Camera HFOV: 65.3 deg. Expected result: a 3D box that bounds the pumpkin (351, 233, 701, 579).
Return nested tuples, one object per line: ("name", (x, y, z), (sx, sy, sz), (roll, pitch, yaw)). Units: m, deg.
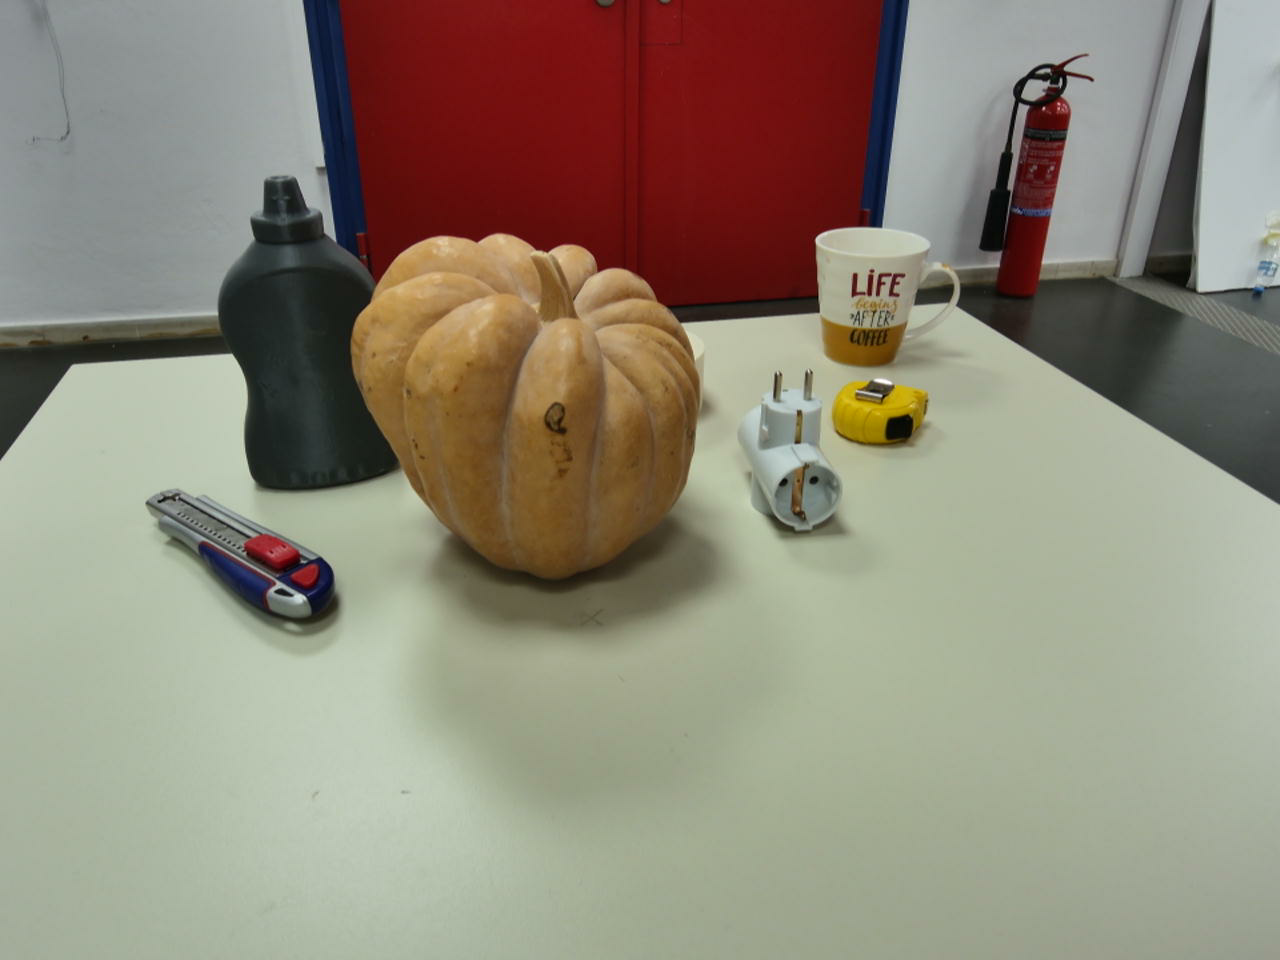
("pumpkin", (-0.059, -0.043, 0.556), (0.199, 0.177, 0.198), (0, 27, 0))
